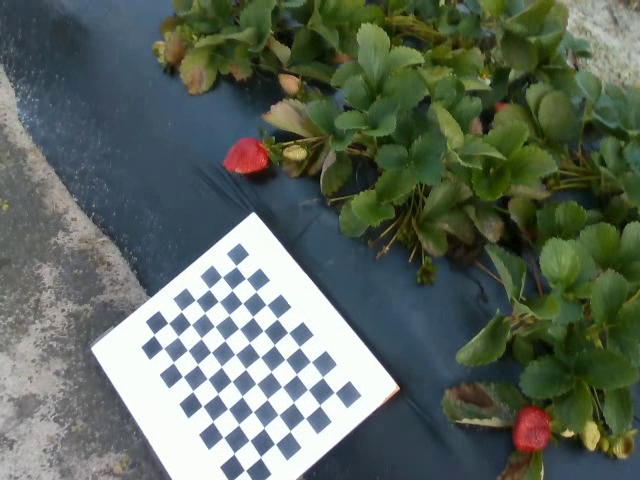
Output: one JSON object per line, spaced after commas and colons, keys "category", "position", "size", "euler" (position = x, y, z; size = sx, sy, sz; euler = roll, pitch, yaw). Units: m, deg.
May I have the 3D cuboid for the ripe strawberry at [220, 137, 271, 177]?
{"category": "ripe strawberry", "position": [-0.117, -0.124, 0.902], "size": [0.074, 0.067, 0.039], "euler": [-36, -22, -3]}
